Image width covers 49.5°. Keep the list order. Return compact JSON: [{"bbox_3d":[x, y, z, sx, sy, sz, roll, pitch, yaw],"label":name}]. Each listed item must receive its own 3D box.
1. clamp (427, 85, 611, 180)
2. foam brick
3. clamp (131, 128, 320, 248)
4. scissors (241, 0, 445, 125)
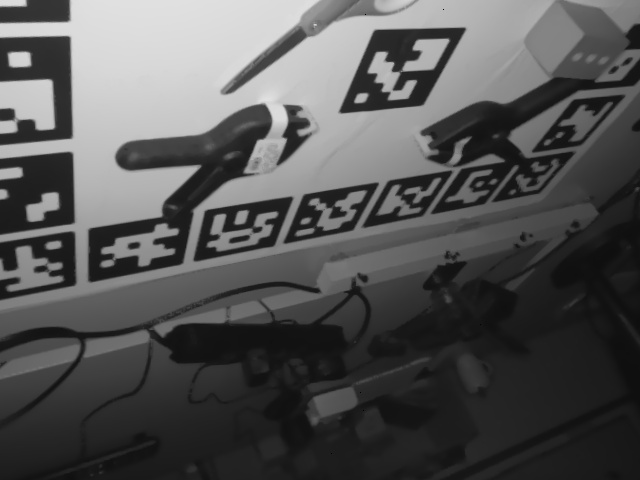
[{"bbox_3d":[0.216,-0.111,0.800,0.205,0.037,0.163,-13,153,-21],"label":"clamp"},{"bbox_3d":[0.265,-0.188,0.700,0.079,0.051,0.052,-11,148,-34],"label":"foam brick"},{"bbox_3d":[-0.078,-0.059,0.656,0.165,0.036,0.121,-26,145,-1],"label":"clamp"},{"bbox_3d":[0.011,-0.155,0.572,0.200,0.016,0.088,-35,143,20],"label":"scissors"}]
